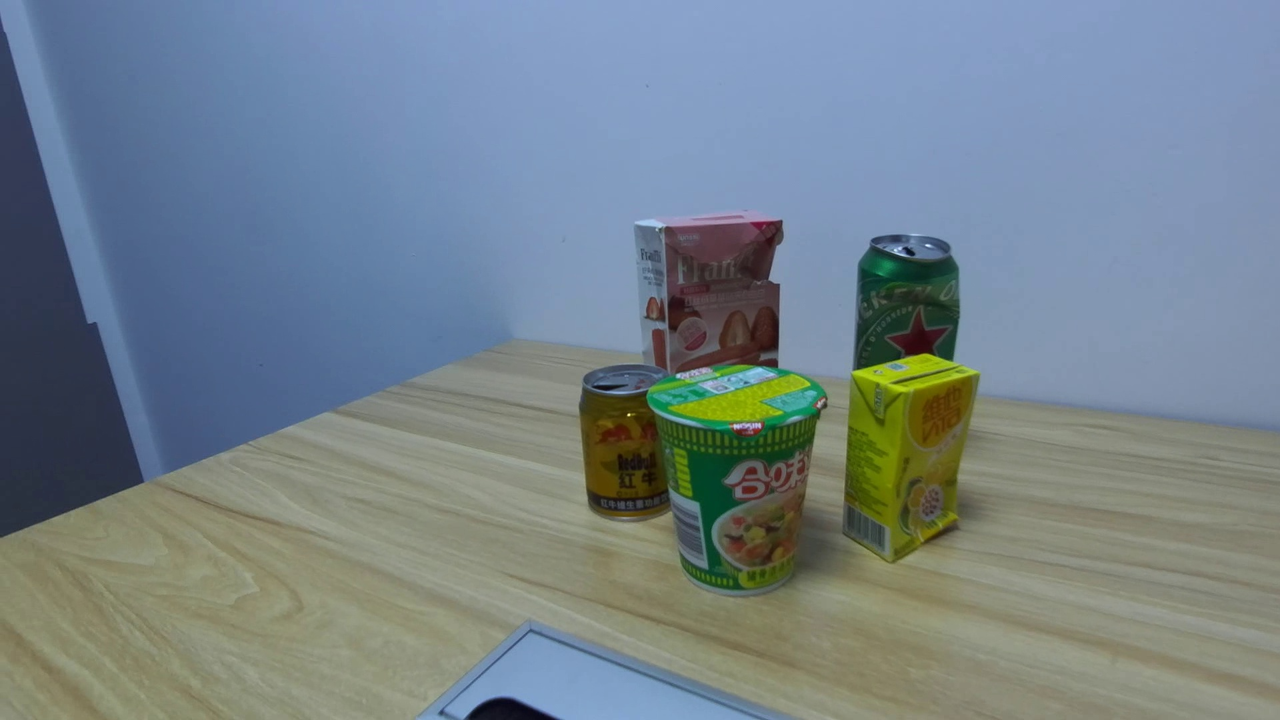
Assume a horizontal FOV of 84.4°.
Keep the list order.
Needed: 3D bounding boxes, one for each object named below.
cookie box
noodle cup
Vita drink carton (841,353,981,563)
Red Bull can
[{"bbox_3d":[0.056,-0.020,0.563,0.105,0.186,0.059,-8,19,-17],"label":"cookie box"},{"bbox_3d":[0.054,0.069,0.403,0.097,0.110,0.097,-2,18,1],"label":"noodle cup"},{"bbox_3d":[0.166,0.056,0.428,0.077,0.109,0.043,-11,19,-25],"label":"Vita drink carton"},{"bbox_3d":[-0.006,0.055,0.491,0.068,0.093,0.068,-3,17,1],"label":"Red Bull can"}]
